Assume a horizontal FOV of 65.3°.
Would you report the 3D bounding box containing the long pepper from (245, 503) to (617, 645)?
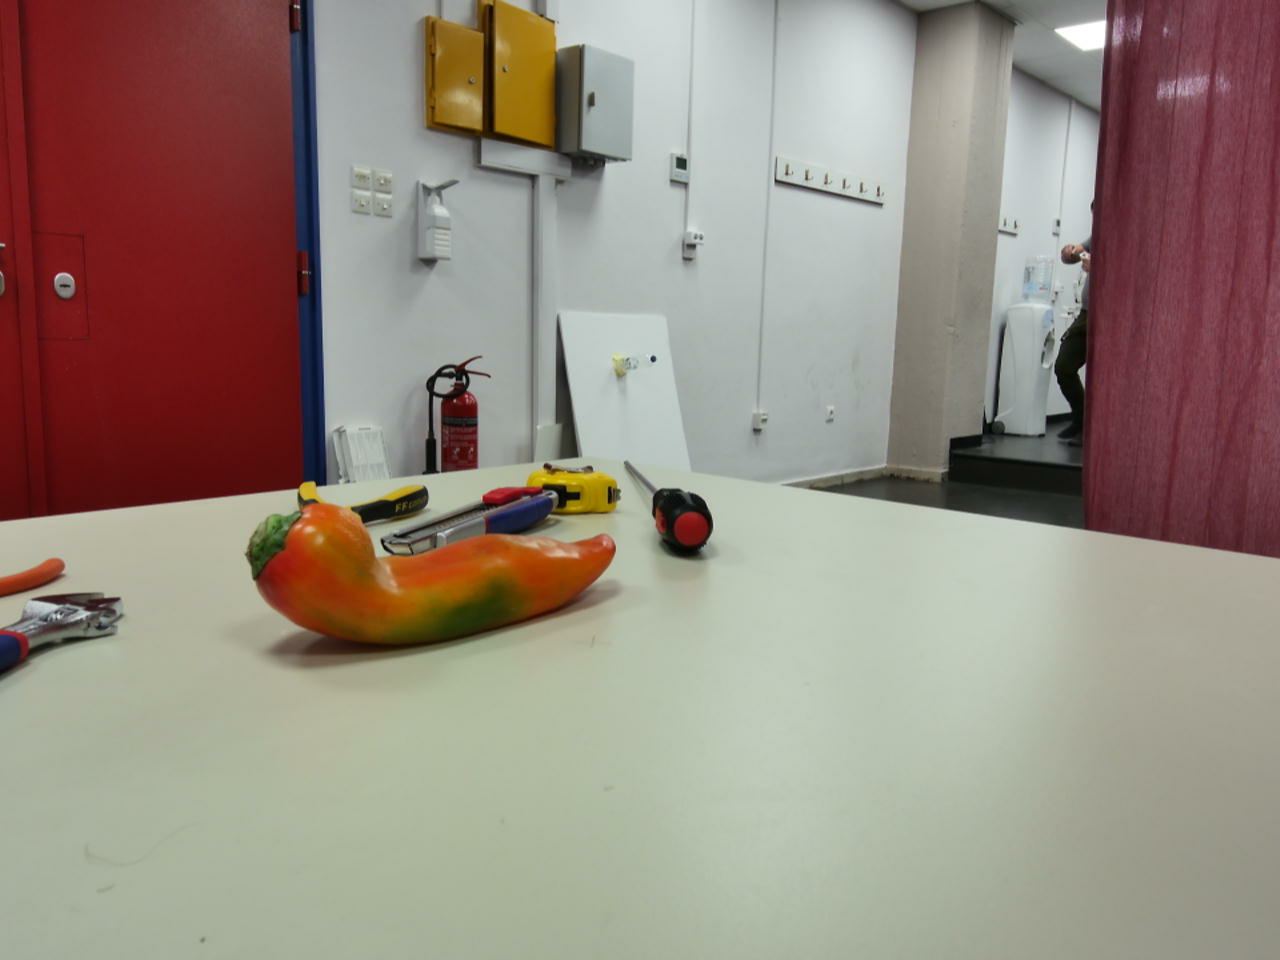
[{"bbox_3d":[-0.085,0.036,0.476,0.199,0.065,0.066,-6,9,-43],"label":"long pepper"}]
